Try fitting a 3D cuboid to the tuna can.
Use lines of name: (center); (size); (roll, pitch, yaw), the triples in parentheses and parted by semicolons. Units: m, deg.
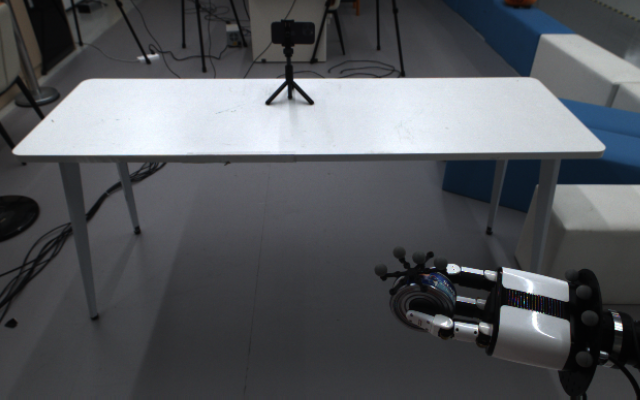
tuna can: (0.140, 0.132, 0.644); (0.085, 0.085, 0.034); (11, 34, 13)
